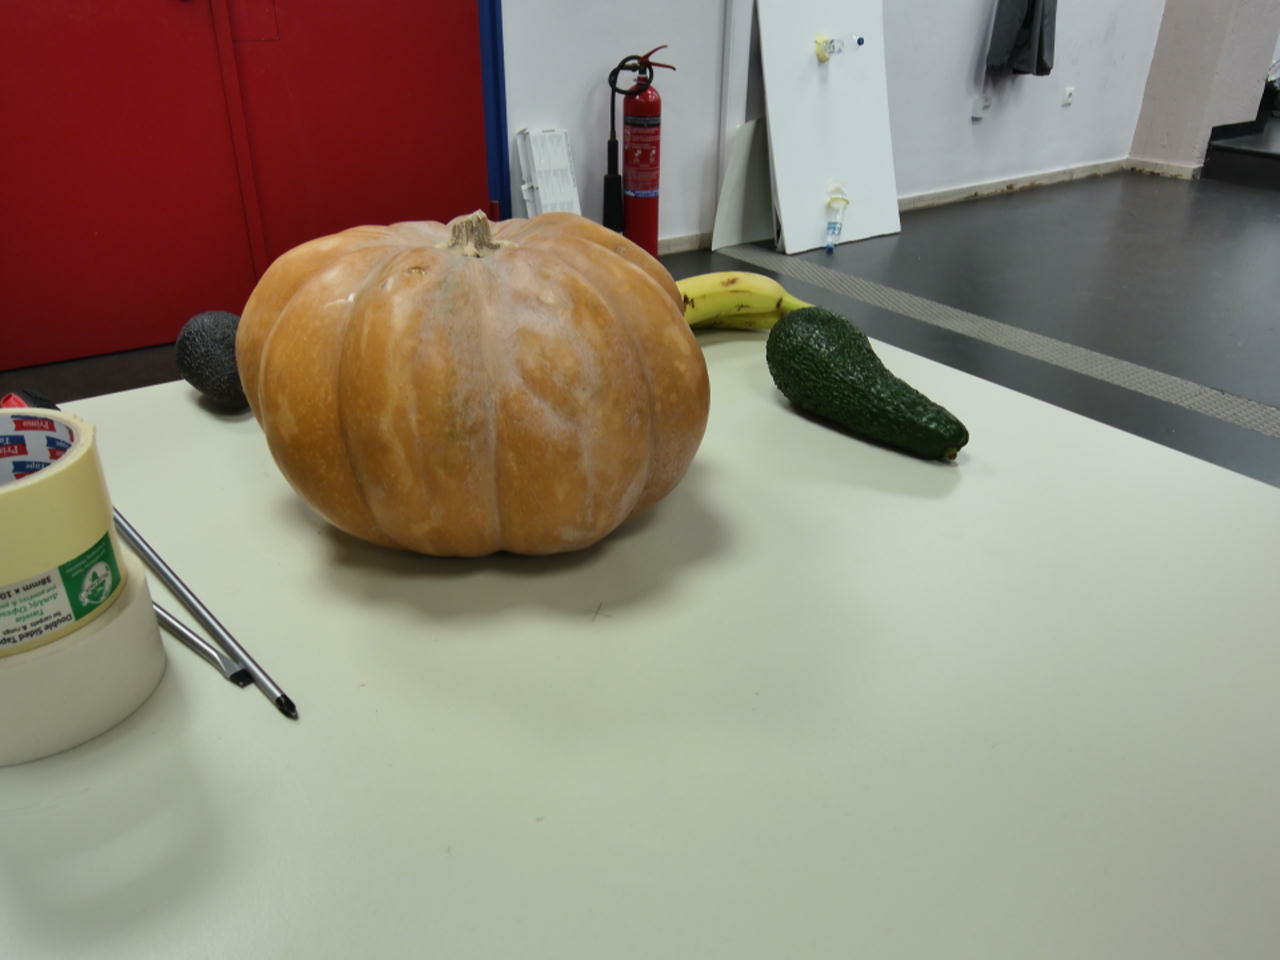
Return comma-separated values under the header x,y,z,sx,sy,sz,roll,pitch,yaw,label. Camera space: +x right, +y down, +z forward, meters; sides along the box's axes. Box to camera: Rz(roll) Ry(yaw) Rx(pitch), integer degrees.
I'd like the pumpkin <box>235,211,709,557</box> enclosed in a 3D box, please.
x,y,z,sx,sy,sz,roll,pitch,yaw,label
-0.091,-0.062,0.582,0.277,0.181,0.277,0,26,0,pumpkin
